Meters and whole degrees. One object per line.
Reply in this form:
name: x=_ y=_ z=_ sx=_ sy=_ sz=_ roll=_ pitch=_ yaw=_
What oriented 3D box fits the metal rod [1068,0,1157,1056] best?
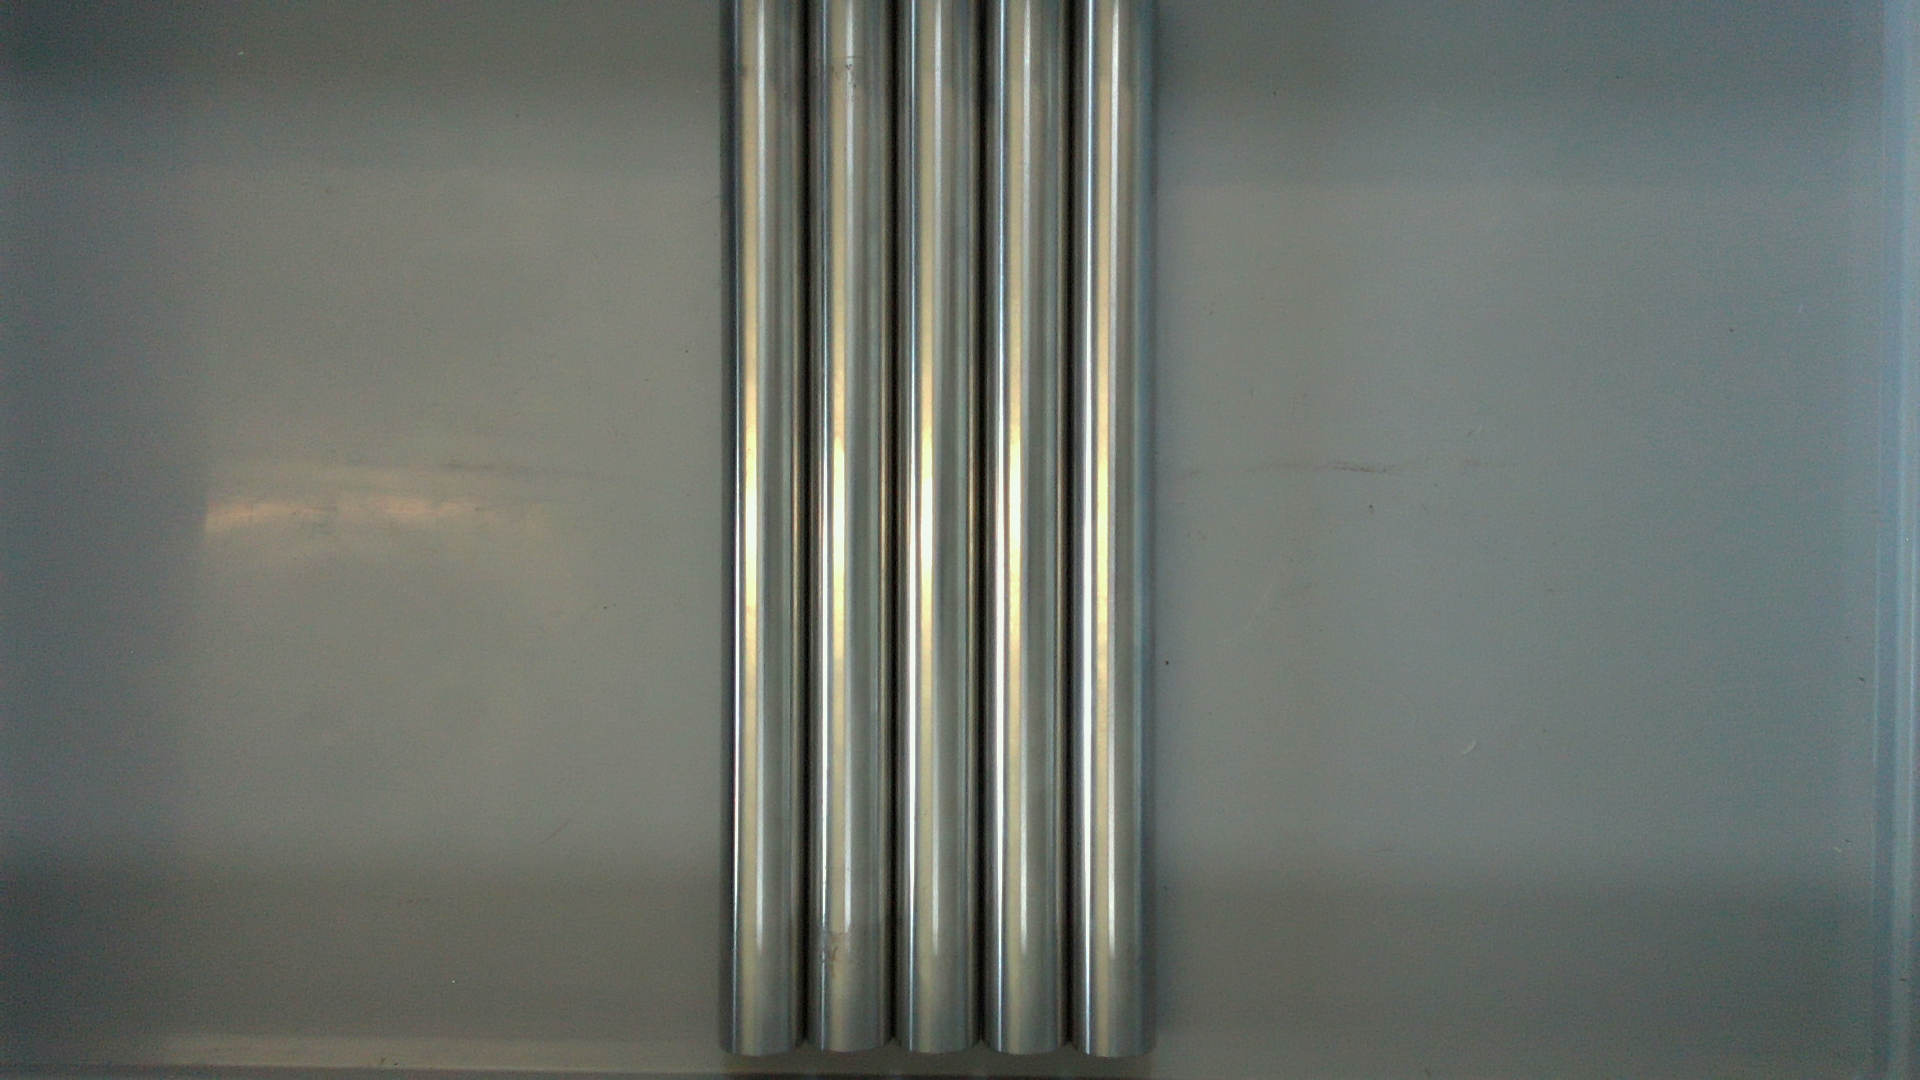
metal rod: x=0.044 y=-0.006 z=0.395 sx=0.025 sy=0.025 sz=0.300 roll=0 pitch=90 yaw=0

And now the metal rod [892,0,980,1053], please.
metal rod: x=-0.007 y=-0.007 z=0.394 sx=0.025 sy=0.025 sz=0.300 roll=0 pitch=90 yaw=0

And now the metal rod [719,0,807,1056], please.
metal rod: x=-0.056 y=-0.007 z=0.394 sx=0.025 sy=0.025 sz=0.300 roll=0 pitch=90 yaw=0

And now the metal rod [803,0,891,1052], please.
metal rod: x=-0.032 y=-0.008 z=0.394 sx=0.025 sy=0.025 sz=0.300 roll=0 pitch=90 yaw=0

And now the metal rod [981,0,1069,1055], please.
metal rod: x=0.019 y=-0.007 z=0.394 sx=0.025 sy=0.025 sz=0.300 roll=0 pitch=90 yaw=0
